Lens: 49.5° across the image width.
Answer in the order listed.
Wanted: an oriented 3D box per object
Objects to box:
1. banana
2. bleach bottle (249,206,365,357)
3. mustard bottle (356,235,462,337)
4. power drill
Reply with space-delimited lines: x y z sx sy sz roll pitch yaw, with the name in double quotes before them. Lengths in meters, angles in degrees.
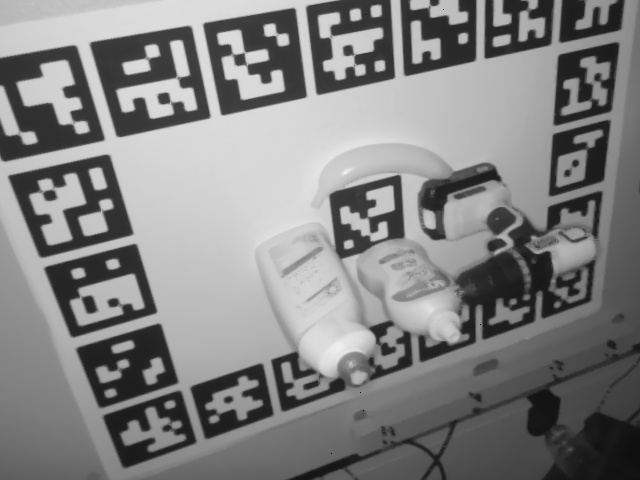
"banana" 0.077 -0.097 0.839 0.199 0.038 0.074 -11 113 -17
"bleach bottle" -0.006 0.045 0.765 0.103 0.250 0.067 -20 119 -9
"mustard bottle" 0.117 0.059 0.841 0.097 0.191 0.058 -12 118 -13
"power drill" 0.214 -0.009 0.824 0.186 0.187 0.057 -14 125 -10
